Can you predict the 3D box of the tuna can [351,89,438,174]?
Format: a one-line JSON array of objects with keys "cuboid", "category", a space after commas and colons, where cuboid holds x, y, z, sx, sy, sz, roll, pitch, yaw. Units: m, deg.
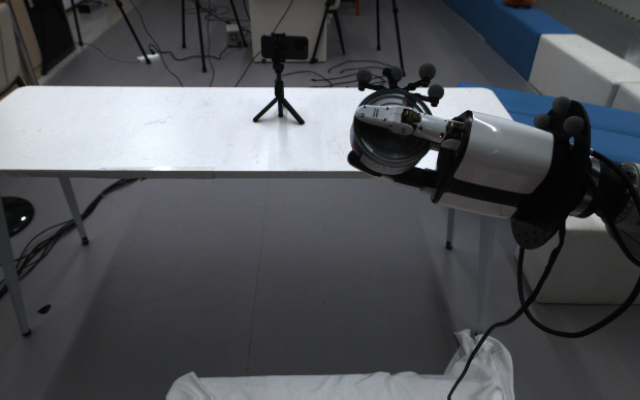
[{"cuboid": [0.076, -0.074, 0.510, 0.085, 0.034, 0.085, 1, 73, -4], "category": "tuna can"}]
